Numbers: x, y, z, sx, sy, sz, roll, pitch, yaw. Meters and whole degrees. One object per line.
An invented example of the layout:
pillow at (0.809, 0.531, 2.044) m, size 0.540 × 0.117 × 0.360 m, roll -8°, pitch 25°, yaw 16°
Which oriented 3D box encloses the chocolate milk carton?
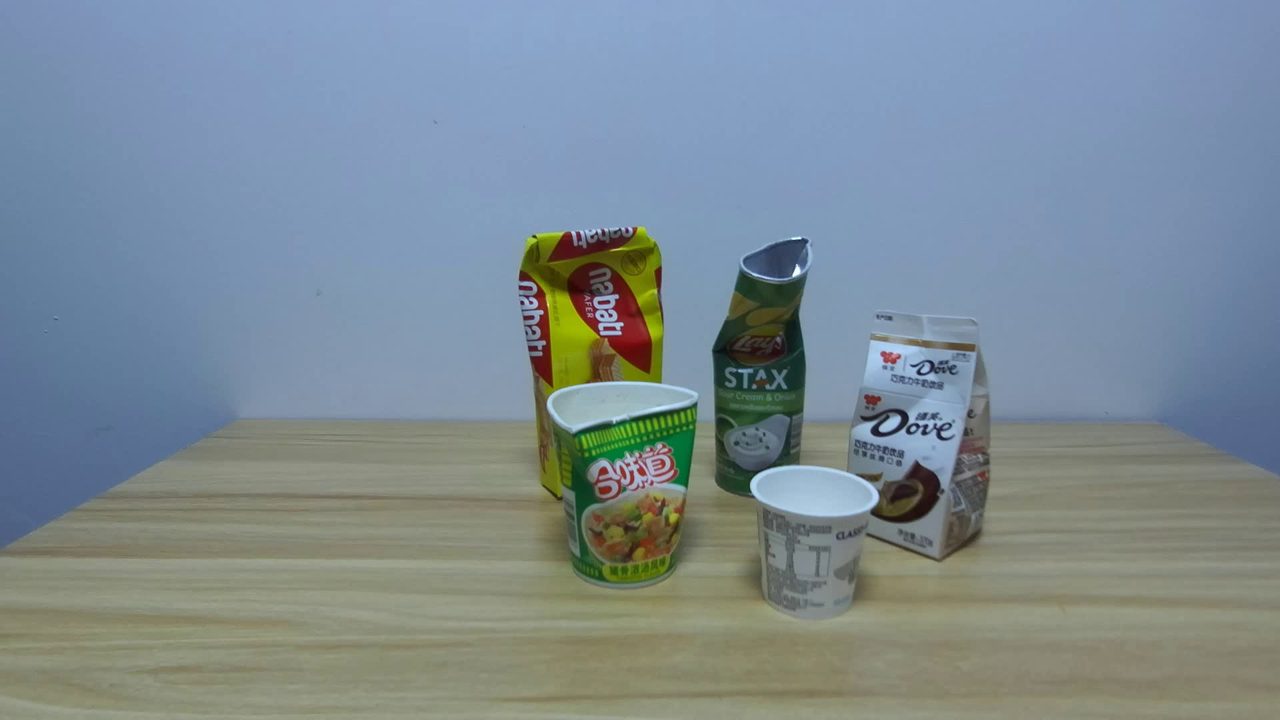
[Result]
chocolate milk carton at (0.195, 0.045, 0.483) m, size 0.084 × 0.155 × 0.073 m, roll 14°, pitch 19°, yaw 43°

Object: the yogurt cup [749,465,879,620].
yogurt cup at (0.097, 0.105, 0.409) m, size 0.072 × 0.068 × 0.072 m, roll 0°, pitch 14°, yaw 0°

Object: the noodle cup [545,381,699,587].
noodle cup at (-0.009, 0.076, 0.447) m, size 0.094 × 0.109 × 0.086 m, roll -4°, pitch 14°, yaw -13°

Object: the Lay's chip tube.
Lay's chip tube at (0.097, 0.009, 0.547) m, size 0.079 × 0.199 × 0.071 m, roll -5°, pitch 22°, yaw -17°

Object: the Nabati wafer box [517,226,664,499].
Nabati wafer box at (-0.033, 0.002, 0.556) m, size 0.114 × 0.205 × 0.042 m, roll -7°, pitch 13°, yaw -26°
